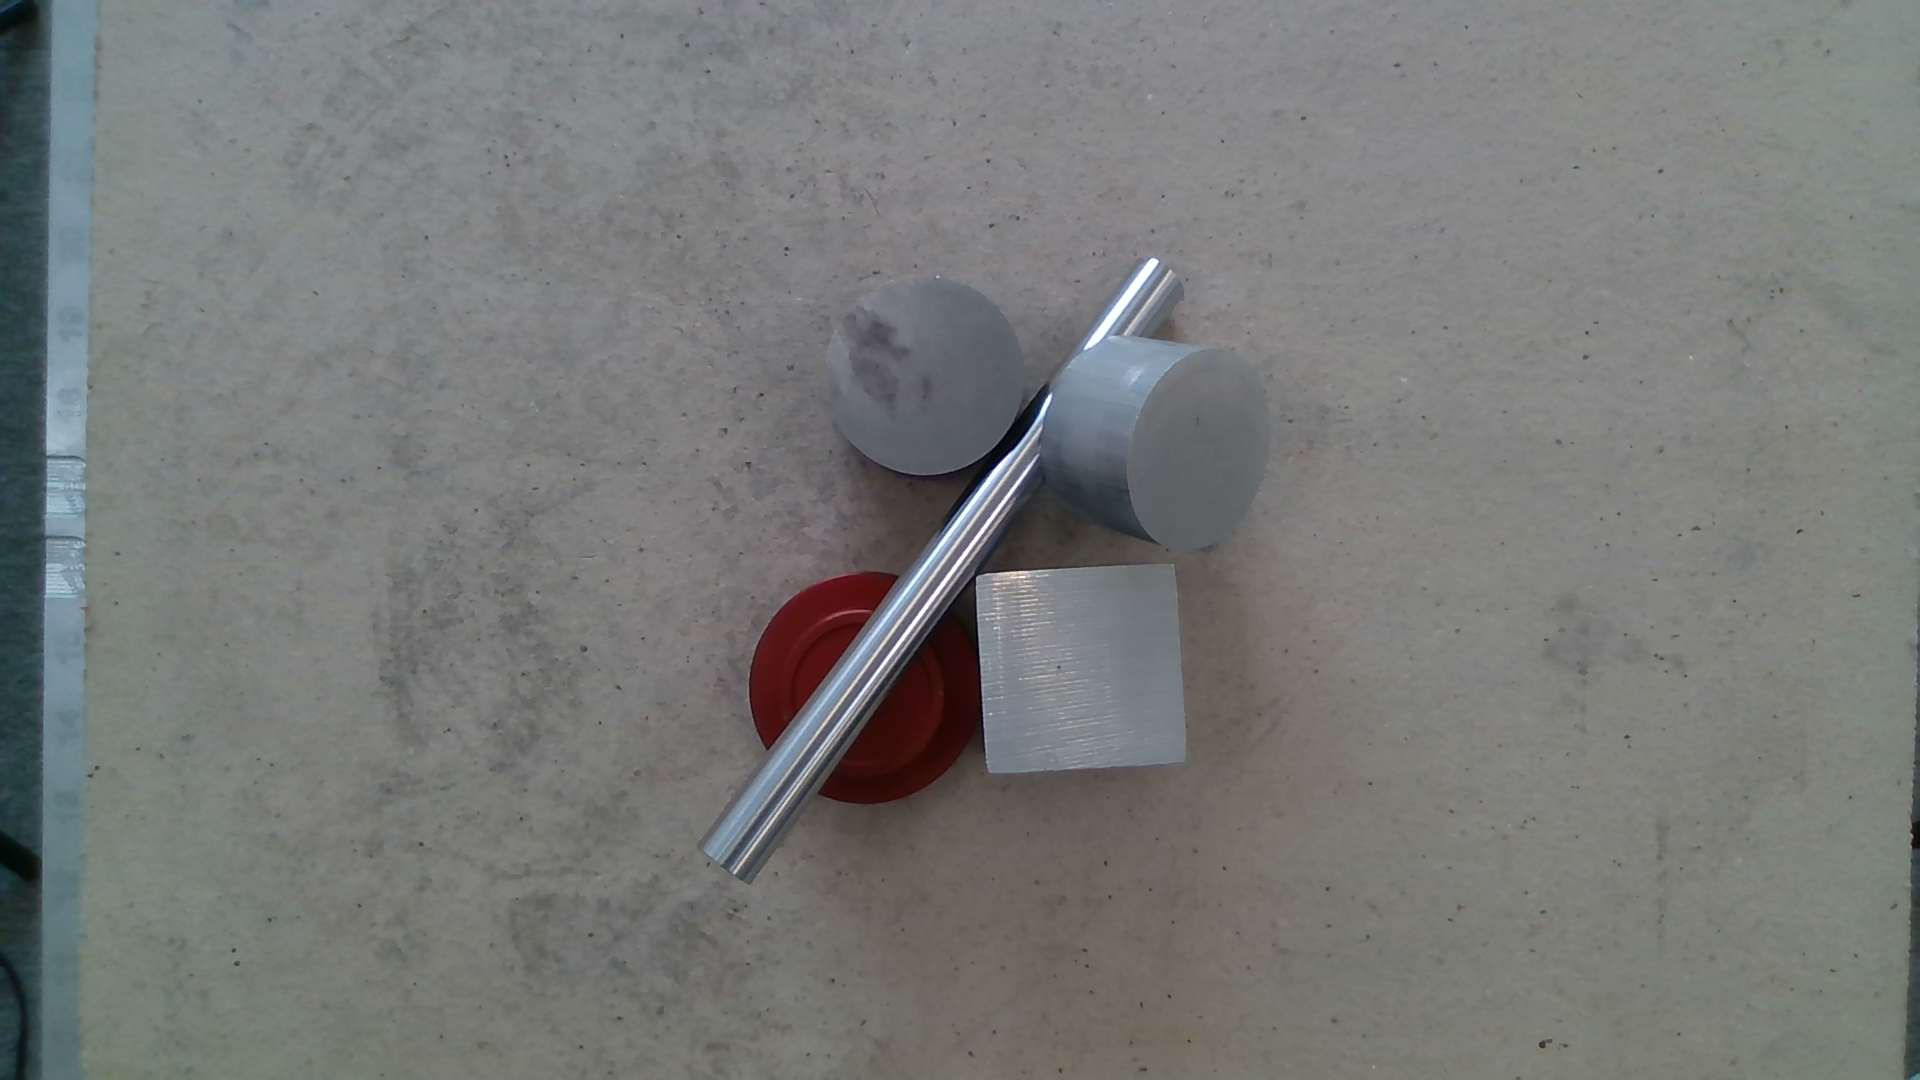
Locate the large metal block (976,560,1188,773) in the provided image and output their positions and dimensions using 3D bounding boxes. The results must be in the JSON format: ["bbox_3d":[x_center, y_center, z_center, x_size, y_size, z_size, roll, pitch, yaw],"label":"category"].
[{"bbox_3d":[0.049,0.051,0.574,0.080,0.050,0.080,-3,90,0],"label":"large metal block"}]

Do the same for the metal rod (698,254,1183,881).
[{"bbox_3d":[-0.002,0.004,0.554,0.025,0.025,0.300,37,77,0],"label":"metal rod"}]

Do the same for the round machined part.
[{"bbox_3d":[-0.041,0.062,0.579,0.098,0.042,0.098,0,91,0],"label":"round machined part"}]

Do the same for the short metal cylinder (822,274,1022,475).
[{"bbox_3d":[-0.015,-0.066,0.575,0.080,0.050,0.080,0,90,0],"label":"short metal cylinder"}]

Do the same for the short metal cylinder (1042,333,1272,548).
[{"bbox_3d":[0.080,-0.041,0.556,0.080,0.050,0.080,-12,111,-35],"label":"short metal cylinder"}]
